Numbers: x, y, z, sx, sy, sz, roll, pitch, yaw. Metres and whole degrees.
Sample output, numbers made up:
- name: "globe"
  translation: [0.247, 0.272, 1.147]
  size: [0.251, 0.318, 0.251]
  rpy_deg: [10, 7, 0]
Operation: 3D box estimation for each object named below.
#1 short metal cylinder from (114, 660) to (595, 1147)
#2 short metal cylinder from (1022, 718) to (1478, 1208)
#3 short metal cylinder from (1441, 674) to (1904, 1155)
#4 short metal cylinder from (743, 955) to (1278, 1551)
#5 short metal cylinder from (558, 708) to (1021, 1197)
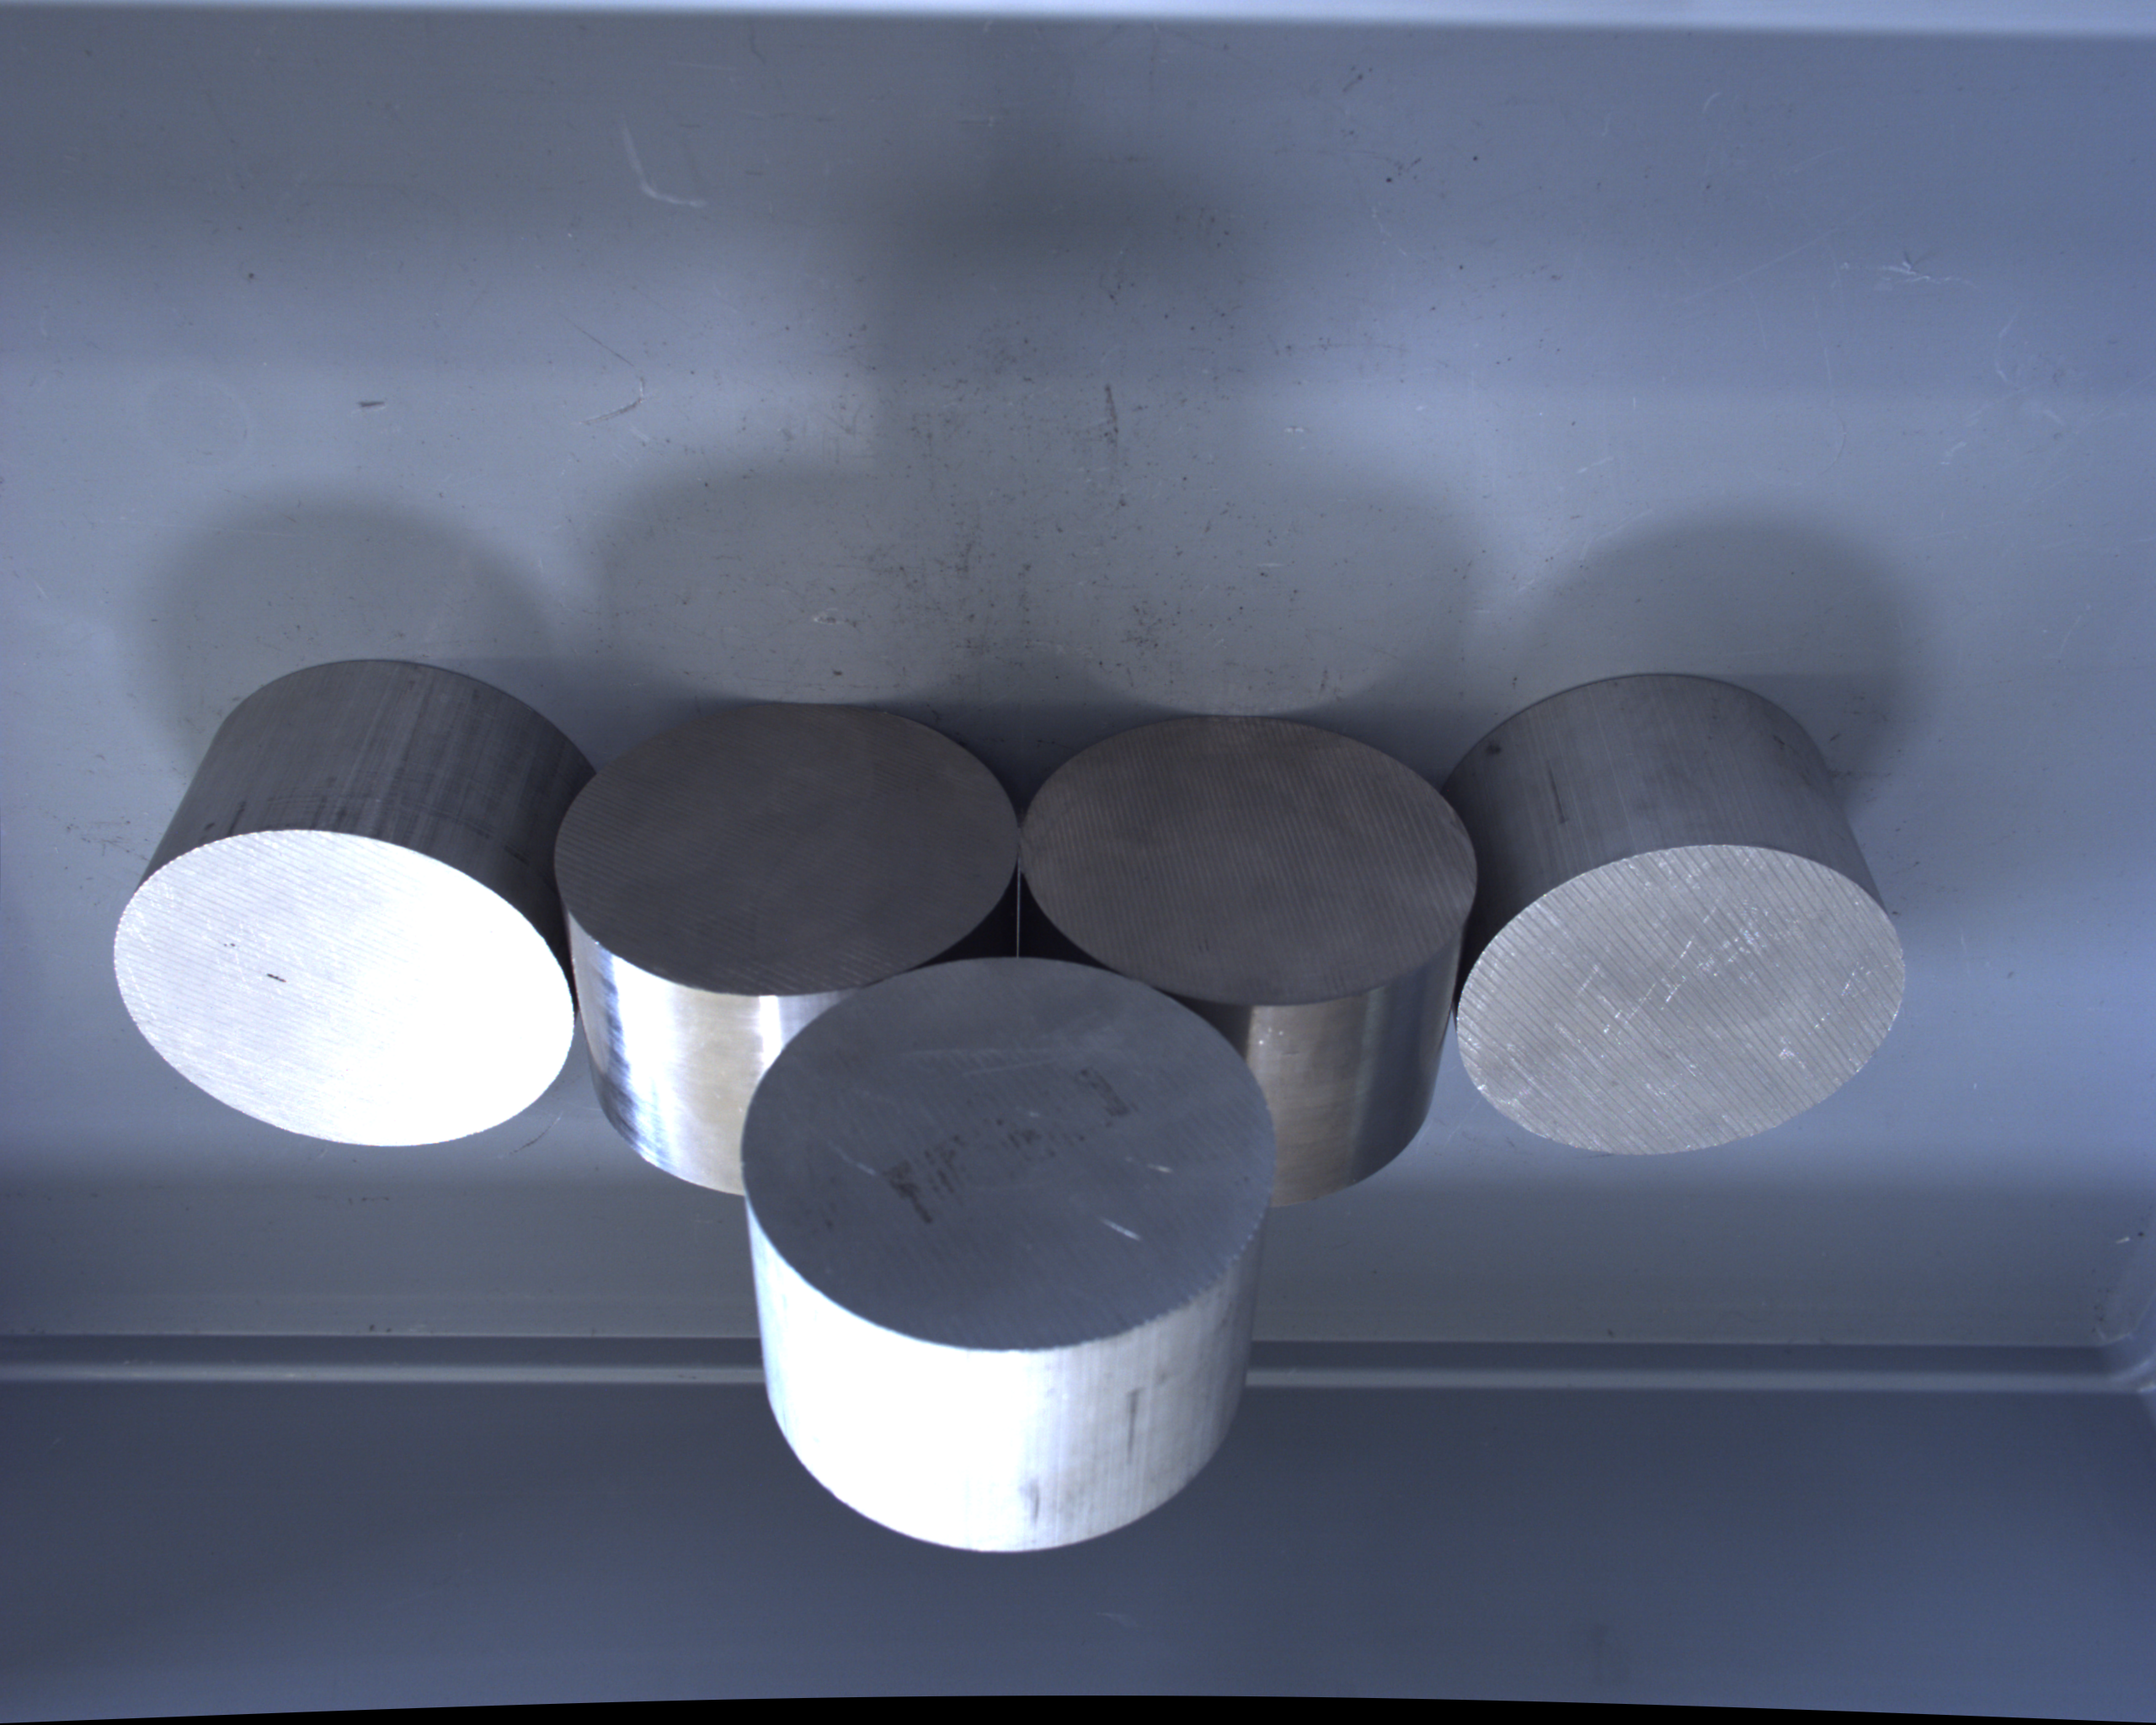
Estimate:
- name: "short metal cylinder"
  translation: [-0.132, 0.009, 0.396]
  size: [0.081, 0.050, 0.079]
  rpy_deg: [0, 130, 0]
- name: "short metal cylinder"
  translation: [0.030, 0.017, 0.385]
  size: [0.081, 0.080, 0.050]
  rpy_deg: [1, 130, -1]
- name: "short metal cylinder"
  translation: [0.110, 0.011, 0.401]
  size: [0.081, 0.050, 0.079]
  rpy_deg: [0, 130, 0]
- name: "short metal cylinder"
  translation: [-0.011, 0.060, 0.331]
  size: [0.081, 0.080, 0.050]
  rpy_deg: [1, 130, -1]
- name: "short metal cylinder"
  translation: [-0.051, 0.015, 0.383]
  size: [0.081, 0.080, 0.050]
  rpy_deg: [1, 130, -1]
